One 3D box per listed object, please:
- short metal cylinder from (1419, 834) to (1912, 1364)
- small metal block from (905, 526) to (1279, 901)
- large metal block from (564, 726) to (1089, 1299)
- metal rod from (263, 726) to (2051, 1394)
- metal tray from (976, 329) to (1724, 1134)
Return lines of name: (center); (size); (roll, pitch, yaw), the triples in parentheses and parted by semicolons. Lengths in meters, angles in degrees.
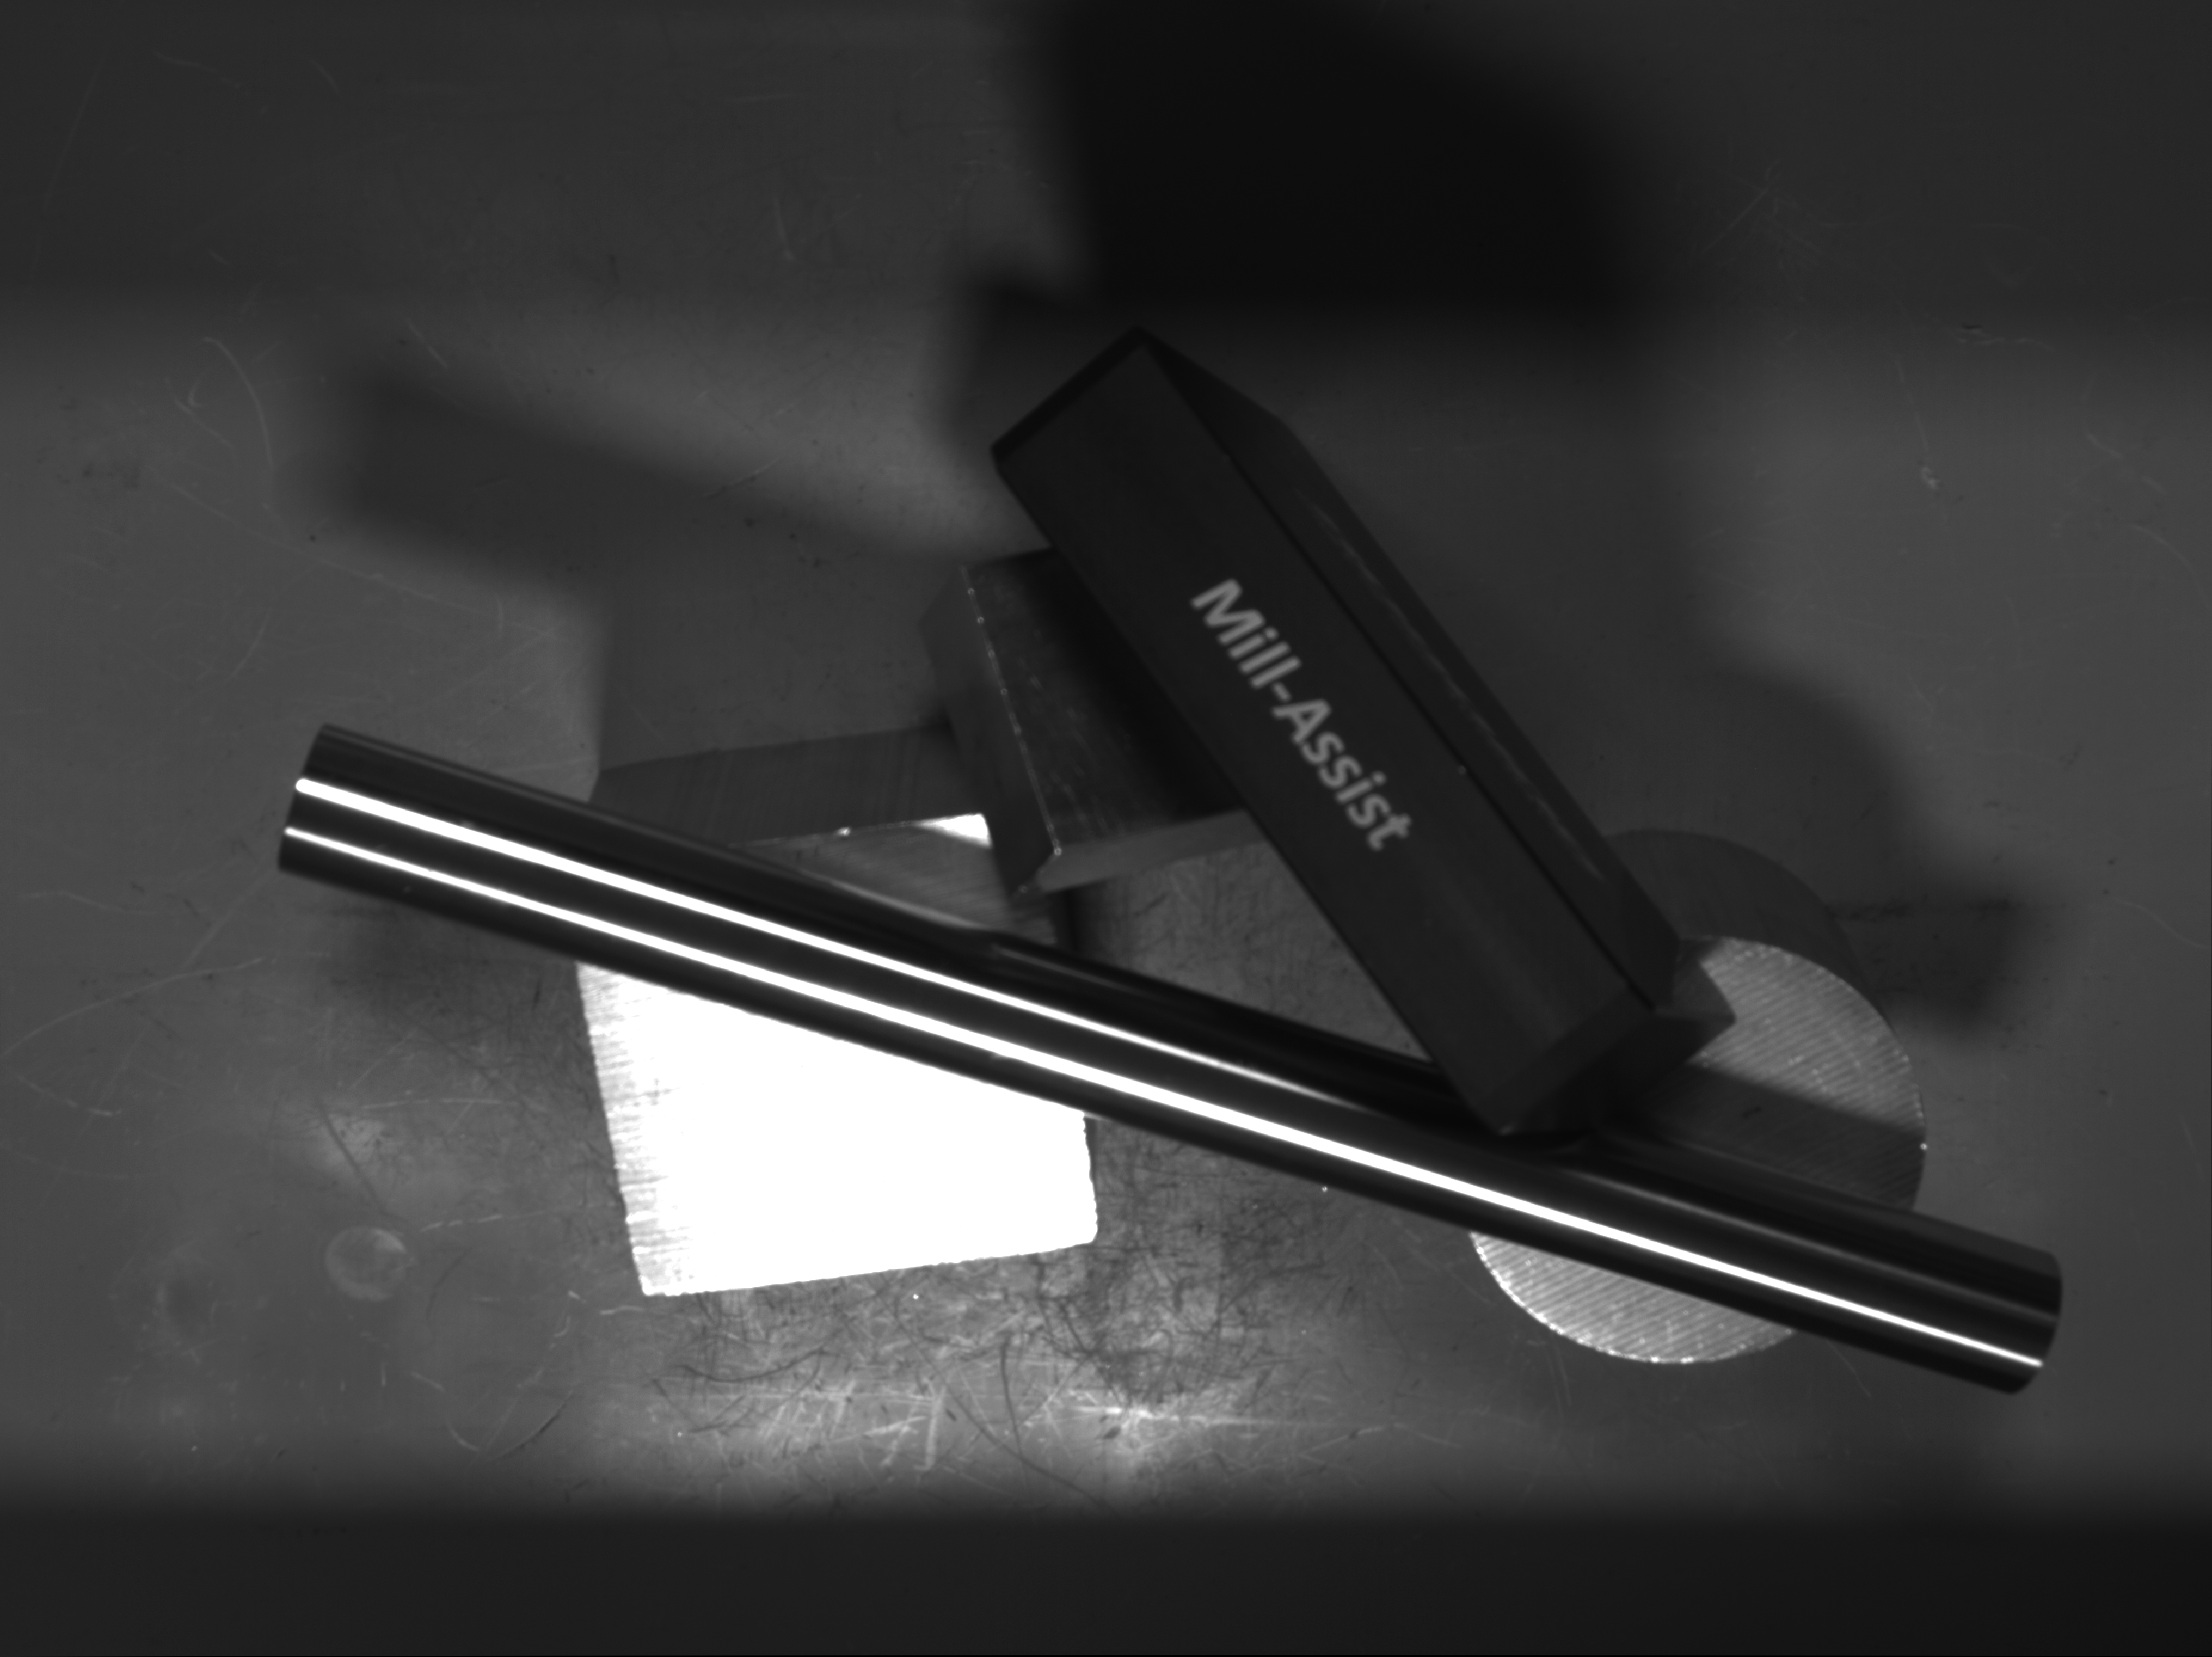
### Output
short metal cylinder: (0.097, 0.047, 0.647); (0.080, 0.050, 0.080); (0, 110, -1)
small metal block: (0.001, -0.021, 0.599); (0.050, 0.025, 0.050); (-13, 76, -24)
large metal block: (-0.048, 0.030, 0.639); (0.080, 0.050, 0.080); (-7, 110, 2)
metal rod: (0.012, 0.040, 0.602); (0.300, 0.025, 0.025); (17, 109, -7)
metal tray: (0.040, -0.013, 0.577); (0.030, 0.090, 0.130); (-39, 76, 12)
